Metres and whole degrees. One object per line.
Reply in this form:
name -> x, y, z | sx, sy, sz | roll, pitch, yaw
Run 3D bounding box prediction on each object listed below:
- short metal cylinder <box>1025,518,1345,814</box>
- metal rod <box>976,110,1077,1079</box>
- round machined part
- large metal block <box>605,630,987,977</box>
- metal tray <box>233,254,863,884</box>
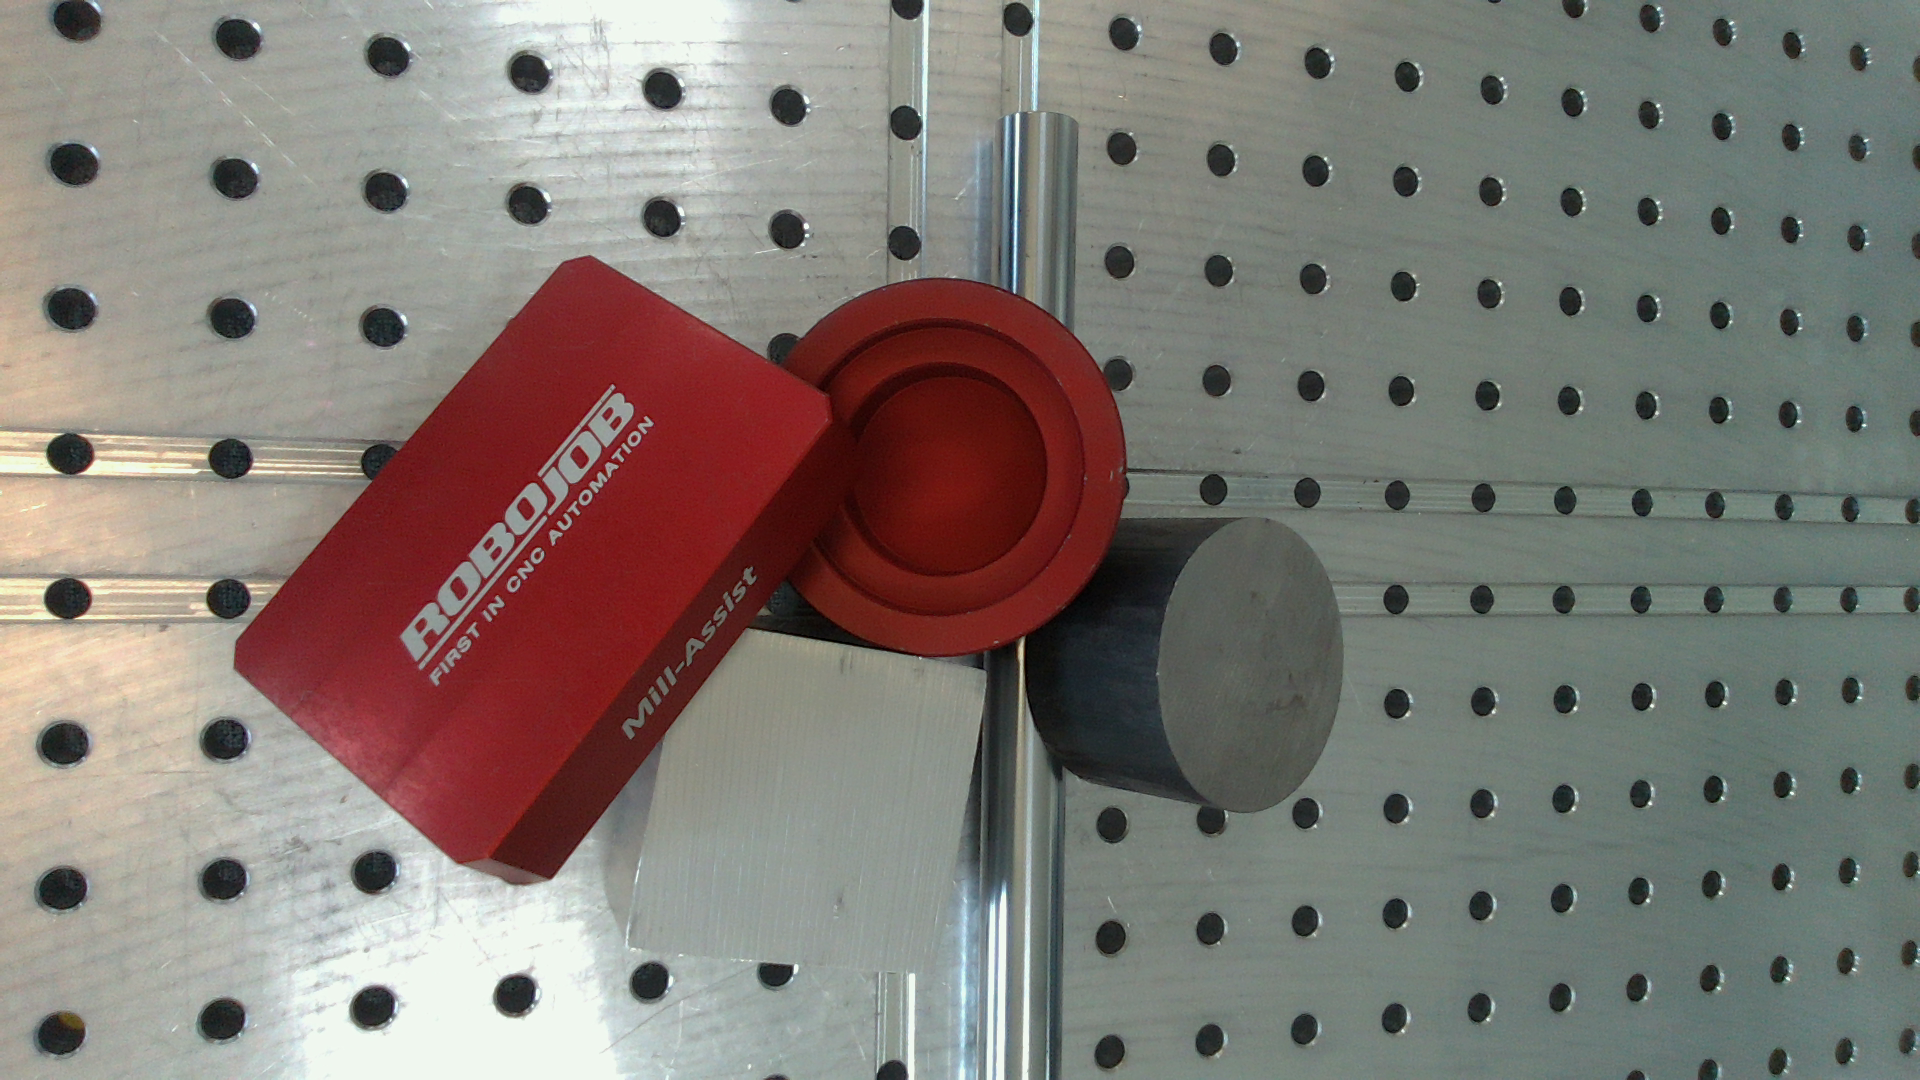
short metal cylinder -> 0.065, 0.034, 0.392 | 0.080, 0.050, 0.080 | 0, 90, -40
metal rod -> 0.019, 0.028, 0.404 | 0.025, 0.025, 0.300 | 1, 90, -20
round machined part -> -0.004, -0.019, 0.372 | 0.098, 0.042, 0.098 | 0, 89, 6
large metal block -> -0.045, 0.066, 0.366 | 0.080, 0.050, 0.080 | 11, 86, -20
metal tray -> -0.097, 0.004, 0.332 | 0.090, 0.030, 0.130 | 32, 77, 22
